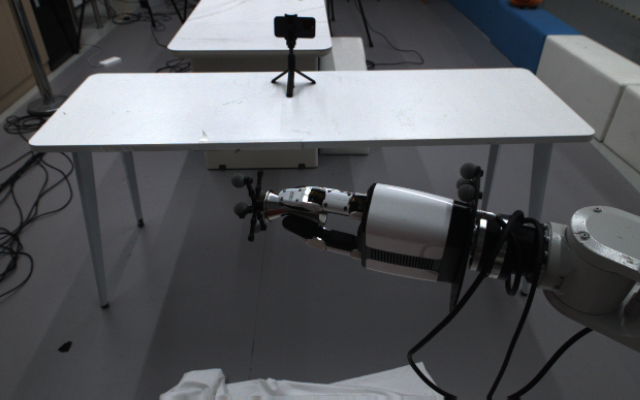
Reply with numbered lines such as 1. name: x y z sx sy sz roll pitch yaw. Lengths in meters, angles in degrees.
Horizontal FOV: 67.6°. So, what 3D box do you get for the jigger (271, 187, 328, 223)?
1. jigger: -0.021 0.005 0.576 0.071 0.043 0.043 2 34 14
